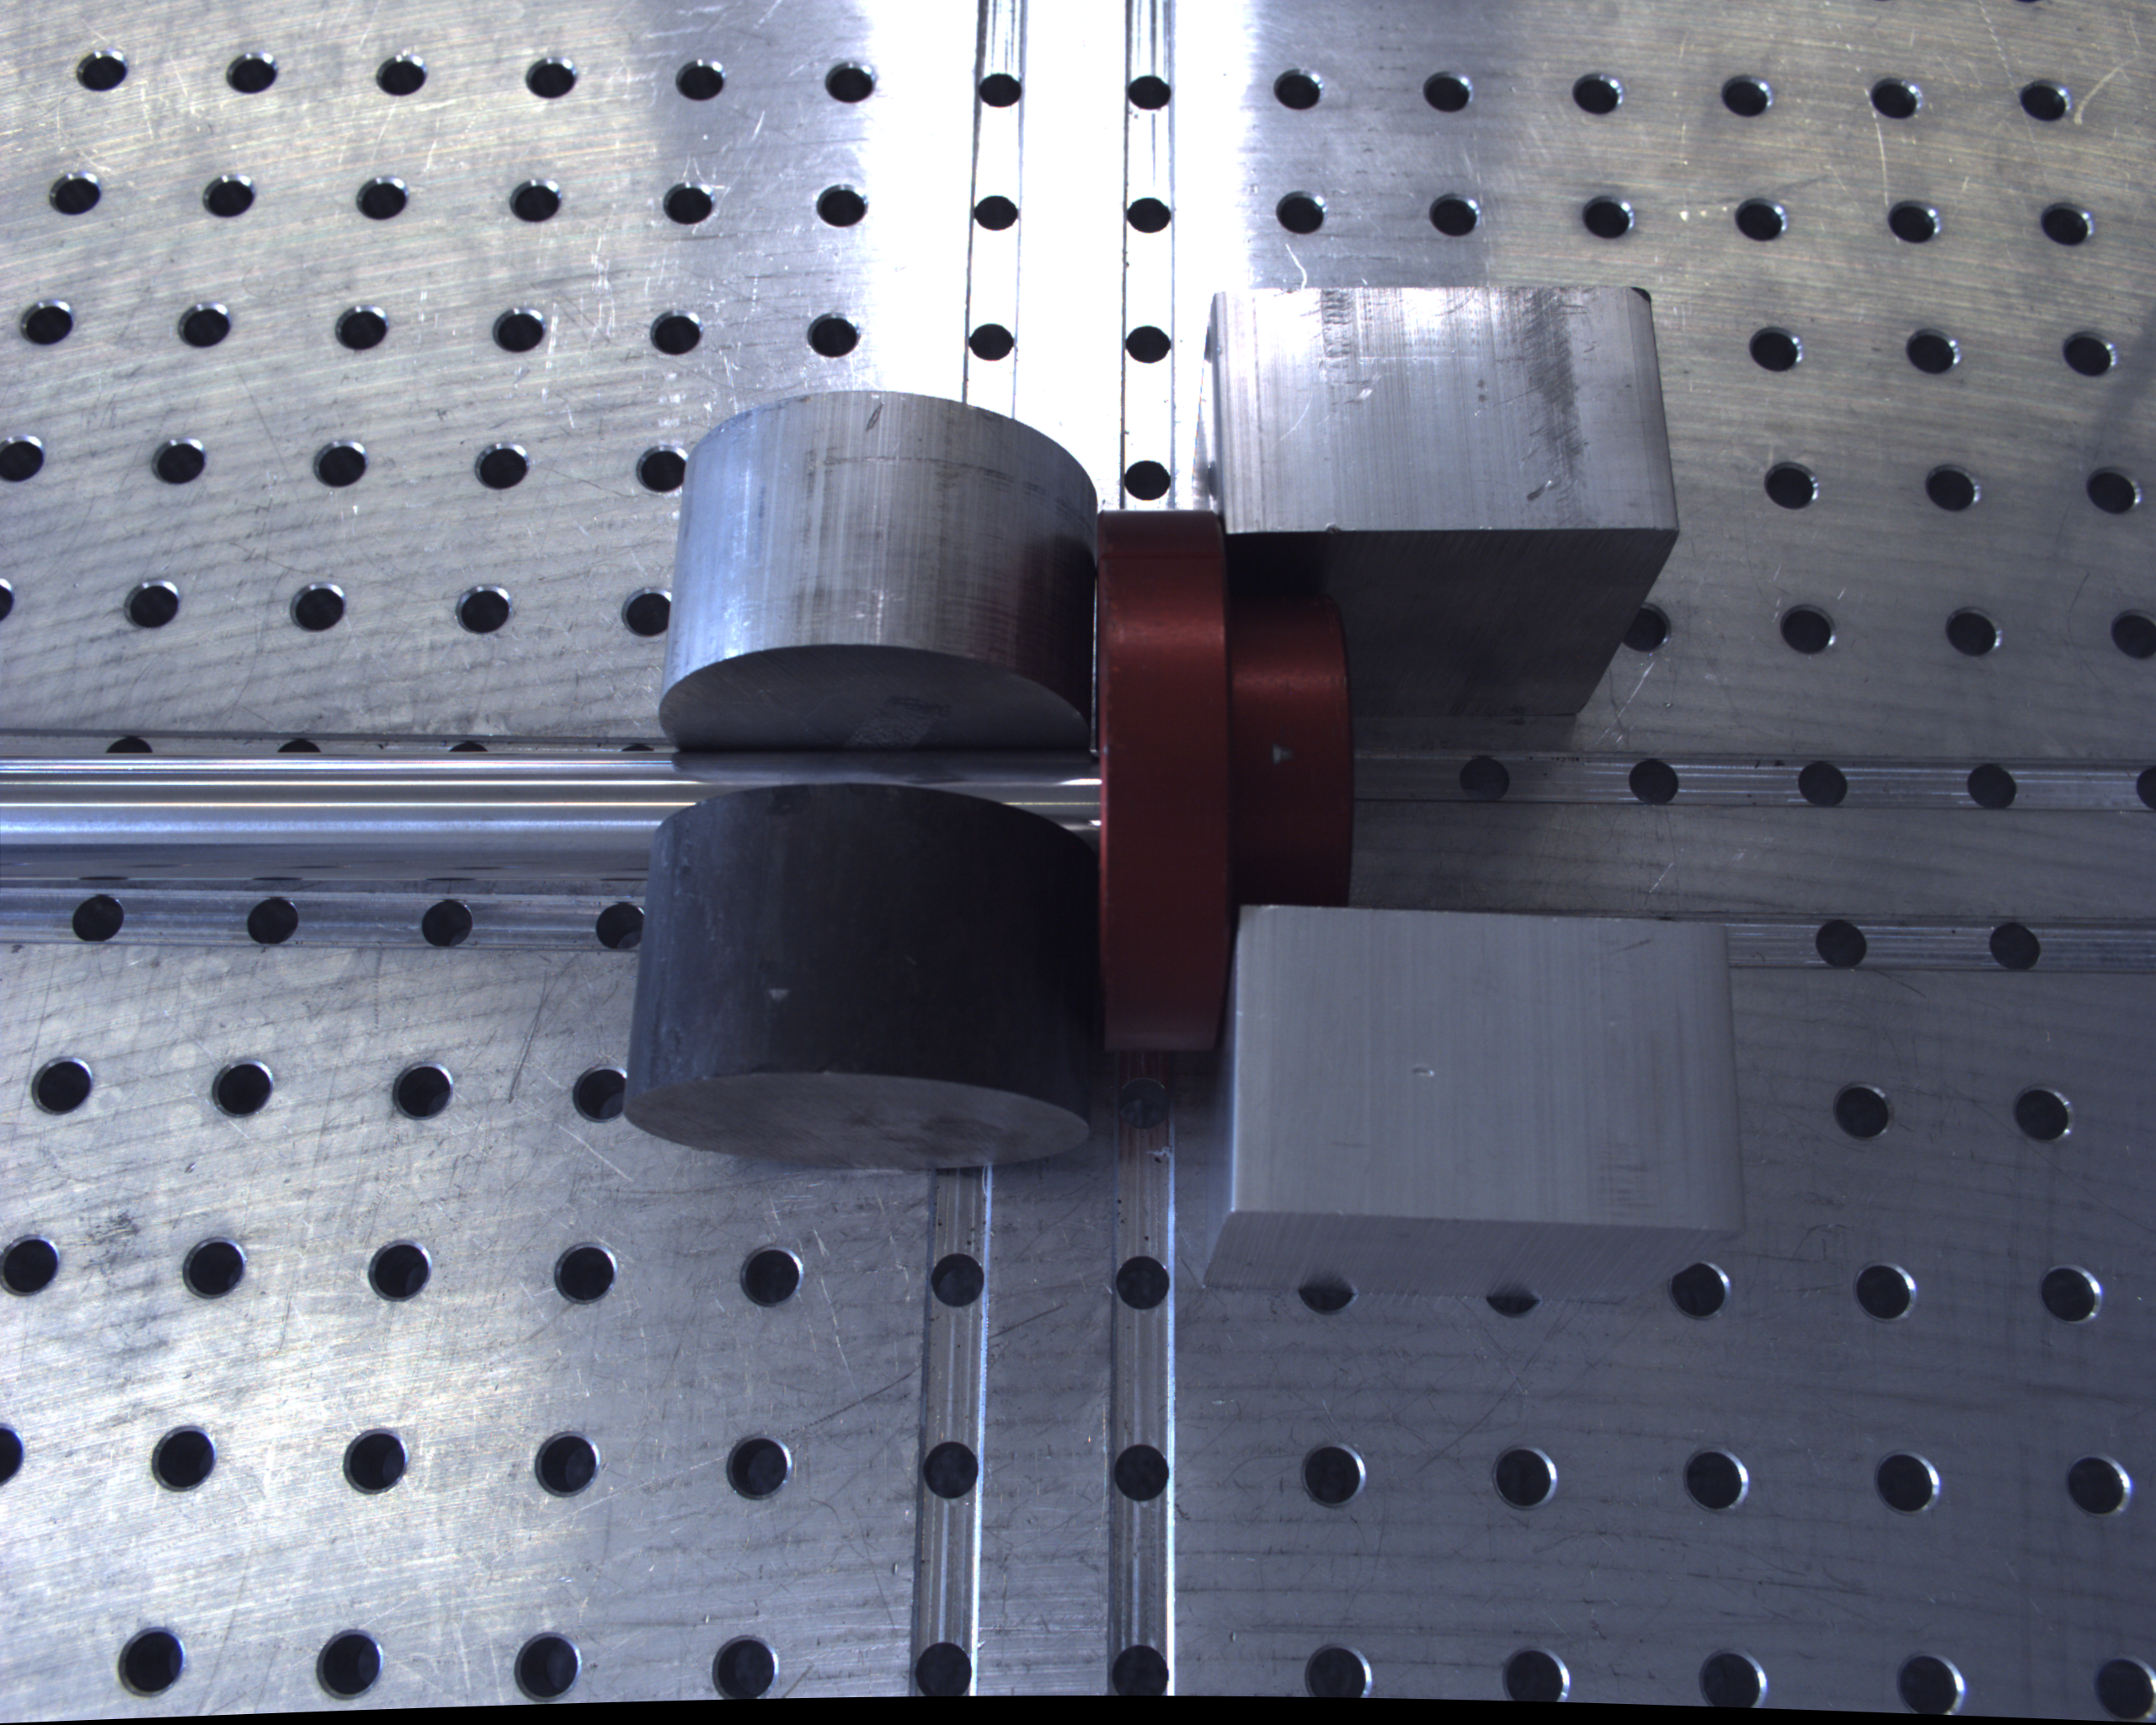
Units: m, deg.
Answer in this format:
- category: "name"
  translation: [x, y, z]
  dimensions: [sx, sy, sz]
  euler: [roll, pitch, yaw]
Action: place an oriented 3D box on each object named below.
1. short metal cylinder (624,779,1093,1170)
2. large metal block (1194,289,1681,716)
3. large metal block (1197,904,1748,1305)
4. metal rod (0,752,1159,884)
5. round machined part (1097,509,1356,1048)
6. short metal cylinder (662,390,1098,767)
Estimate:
- category: "short metal cylinder"
  translation: [-0.038, 0.023, 0.373]
  dimensions: [0.080, 0.080, 0.050]
  euler: [1, 71, 0]
- category: "large metal block"
  translation: [0.065, -0.067, 0.408]
  dimensions: [0.081, 0.080, 0.050]
  euler: [0, 70, 0]
- category: "large metal block"
  translation: [0.064, 0.045, 0.367]
  dimensions: [0.080, 0.080, 0.050]
  euler: [3, 70, 1]
- category: "metal rod"
  translation: [-0.120, -0.009, 0.402]
  dimensions: [0.302, 0.025, 0.025]
  euler: [0, 70, 4]
- category: "round machined part"
  translation: [0.025, -0.015, 0.378]
  dimensions: [0.042, 0.098, 0.098]
  euler: [1, 70, 0]
- category: "short metal cylinder"
  translation: [-0.037, -0.047, 0.400]
  dimensions: [0.080, 0.080, 0.050]
  euler: [1, 71, 0]
